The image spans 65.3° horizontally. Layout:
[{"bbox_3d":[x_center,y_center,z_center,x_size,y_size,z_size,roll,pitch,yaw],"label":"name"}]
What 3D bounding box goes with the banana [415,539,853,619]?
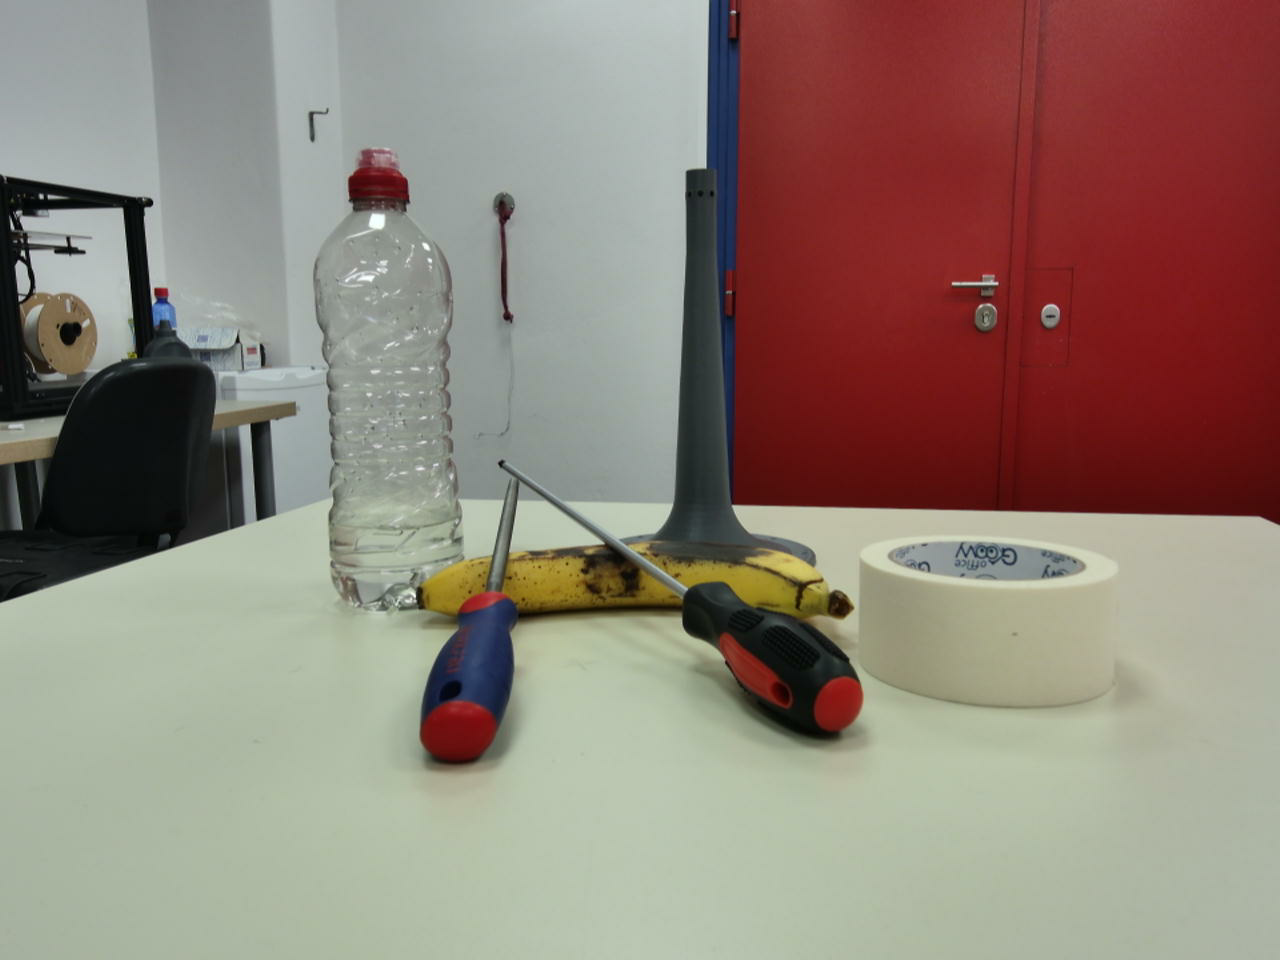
[{"bbox_3d":[-0.001,0.054,0.529,0.222,0.037,0.084,1,6,12],"label":"banana"}]
